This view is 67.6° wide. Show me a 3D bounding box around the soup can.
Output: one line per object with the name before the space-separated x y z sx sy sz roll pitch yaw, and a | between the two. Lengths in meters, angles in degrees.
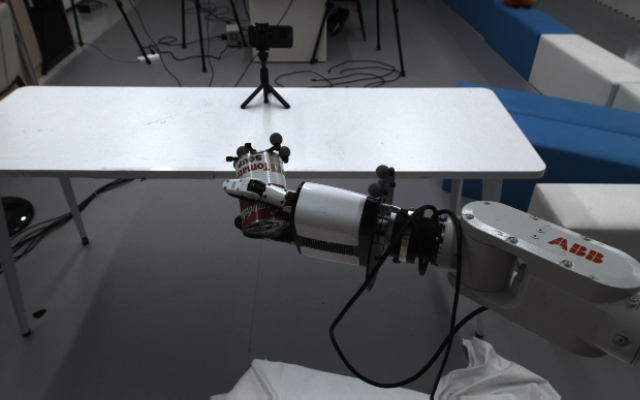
soup can | -0.075 -0.006 0.653 0.067 0.067 0.101 -6 67 -12
